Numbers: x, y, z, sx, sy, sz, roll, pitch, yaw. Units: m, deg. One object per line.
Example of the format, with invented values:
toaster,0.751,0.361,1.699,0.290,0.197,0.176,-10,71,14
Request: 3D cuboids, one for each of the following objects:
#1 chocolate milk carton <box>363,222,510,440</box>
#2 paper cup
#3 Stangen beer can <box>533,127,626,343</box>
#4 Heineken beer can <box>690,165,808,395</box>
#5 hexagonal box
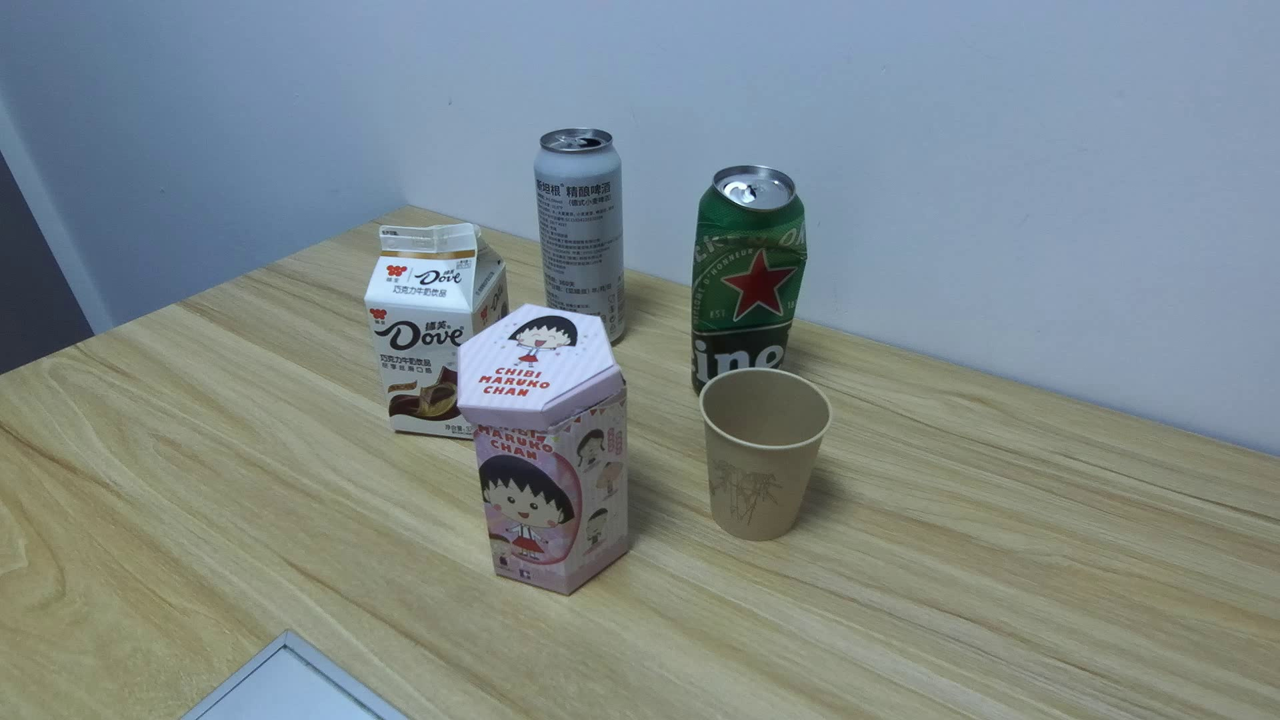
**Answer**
chocolate milk carton,-0.135,-0.027,0.490,0.075,0.148,0.074,6,36,6
paper cup,0.070,0.059,0.418,0.075,0.082,0.075,0,35,1
Stangen beer can,-0.046,-0.094,0.568,0.067,0.171,0.067,0,33,1
Heineken beer can,0.073,-0.046,0.497,0.068,0.168,0.069,19,41,23
hexagonal box,-0.049,0.049,0.390,0.092,0.135,0.085,11,37,17
